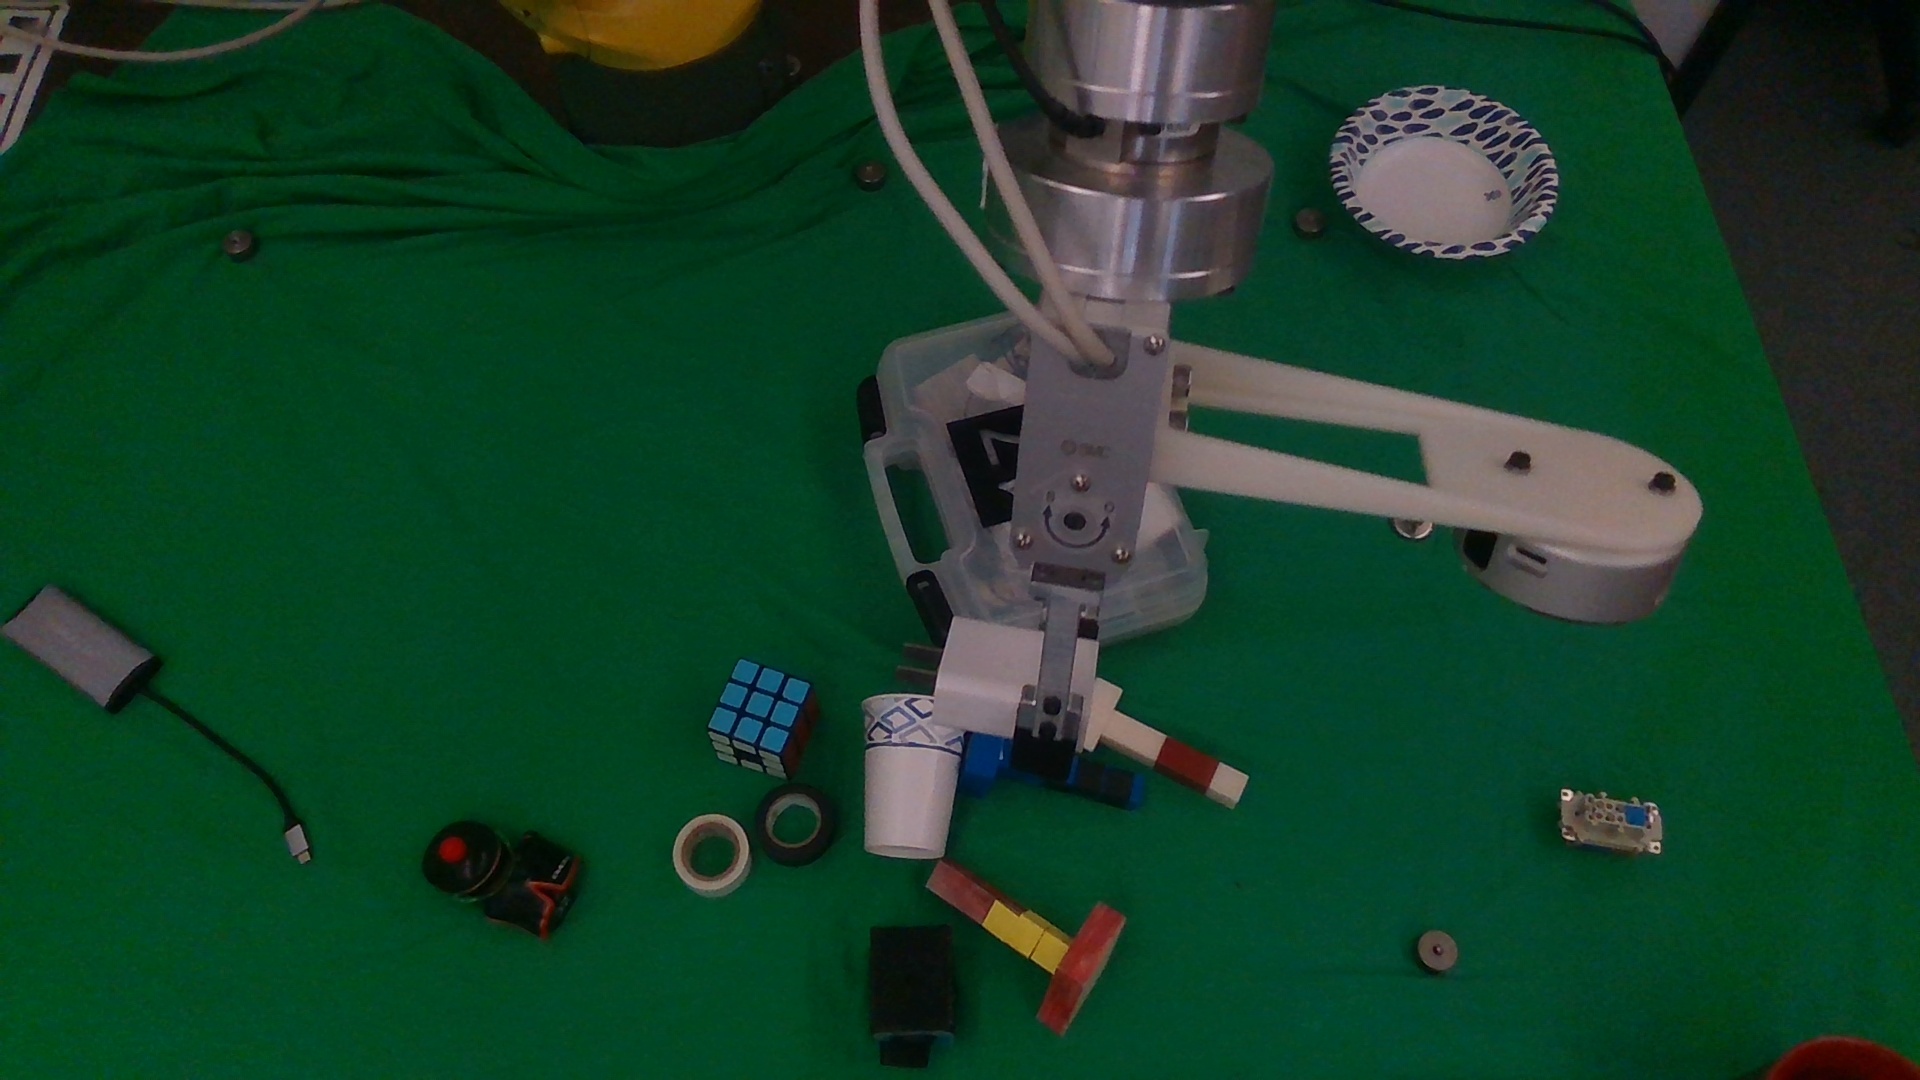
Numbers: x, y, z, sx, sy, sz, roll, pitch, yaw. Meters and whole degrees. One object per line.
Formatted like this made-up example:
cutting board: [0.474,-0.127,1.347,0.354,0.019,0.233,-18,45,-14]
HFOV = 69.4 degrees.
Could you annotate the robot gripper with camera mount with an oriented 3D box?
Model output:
robot gripper with camera mount: [0.120,0.012,0.435,0.193,0.158,0.119,6,32,5]

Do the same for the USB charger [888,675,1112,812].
USB charger: [0.014,0.067,0.471,0.075,0.029,0.044,6,33,5]
